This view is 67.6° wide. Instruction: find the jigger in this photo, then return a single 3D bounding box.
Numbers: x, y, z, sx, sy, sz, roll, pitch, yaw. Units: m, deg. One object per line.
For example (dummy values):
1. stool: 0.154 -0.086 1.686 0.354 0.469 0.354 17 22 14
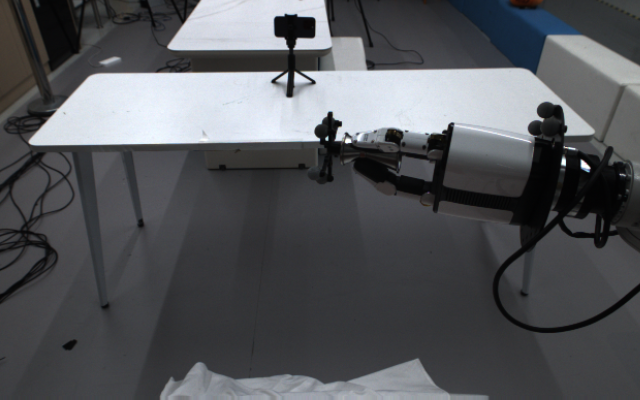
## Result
1. jigger: 0.068 -0.060 0.571 0.071 0.043 0.043 7 35 13
